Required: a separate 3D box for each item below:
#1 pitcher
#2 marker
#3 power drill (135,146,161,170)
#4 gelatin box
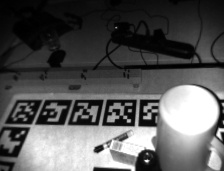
[{"bbox_3d":[0.177,0.108,0.476,0.186,0.245,0.134,23,62,35],"label":"pitcher"},{"bbox_3d":[0.005,0.142,0.618,0.121,0.020,0.019,-24,51,-7],"label":"marker"},{"bbox_3d":[0.125,0.205,0.438,0.185,0.186,0.057,31,66,25],"label":"power drill"},{"bbox_3d":[0.049,0.167,0.557,0.089,0.074,0.030,7,57,15],"label":"gelatin box"}]
